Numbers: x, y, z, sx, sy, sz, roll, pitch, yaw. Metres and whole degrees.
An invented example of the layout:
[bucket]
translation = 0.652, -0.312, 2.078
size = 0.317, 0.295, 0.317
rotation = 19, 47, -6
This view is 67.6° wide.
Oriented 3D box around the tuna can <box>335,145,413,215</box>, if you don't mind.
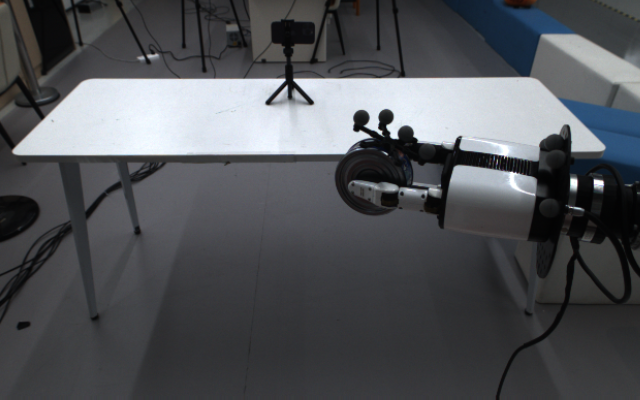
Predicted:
[tuna can]
translation = 0.065, -0.020, 0.553
size = 0.085, 0.085, 0.034
rotation = 15, 31, 18
